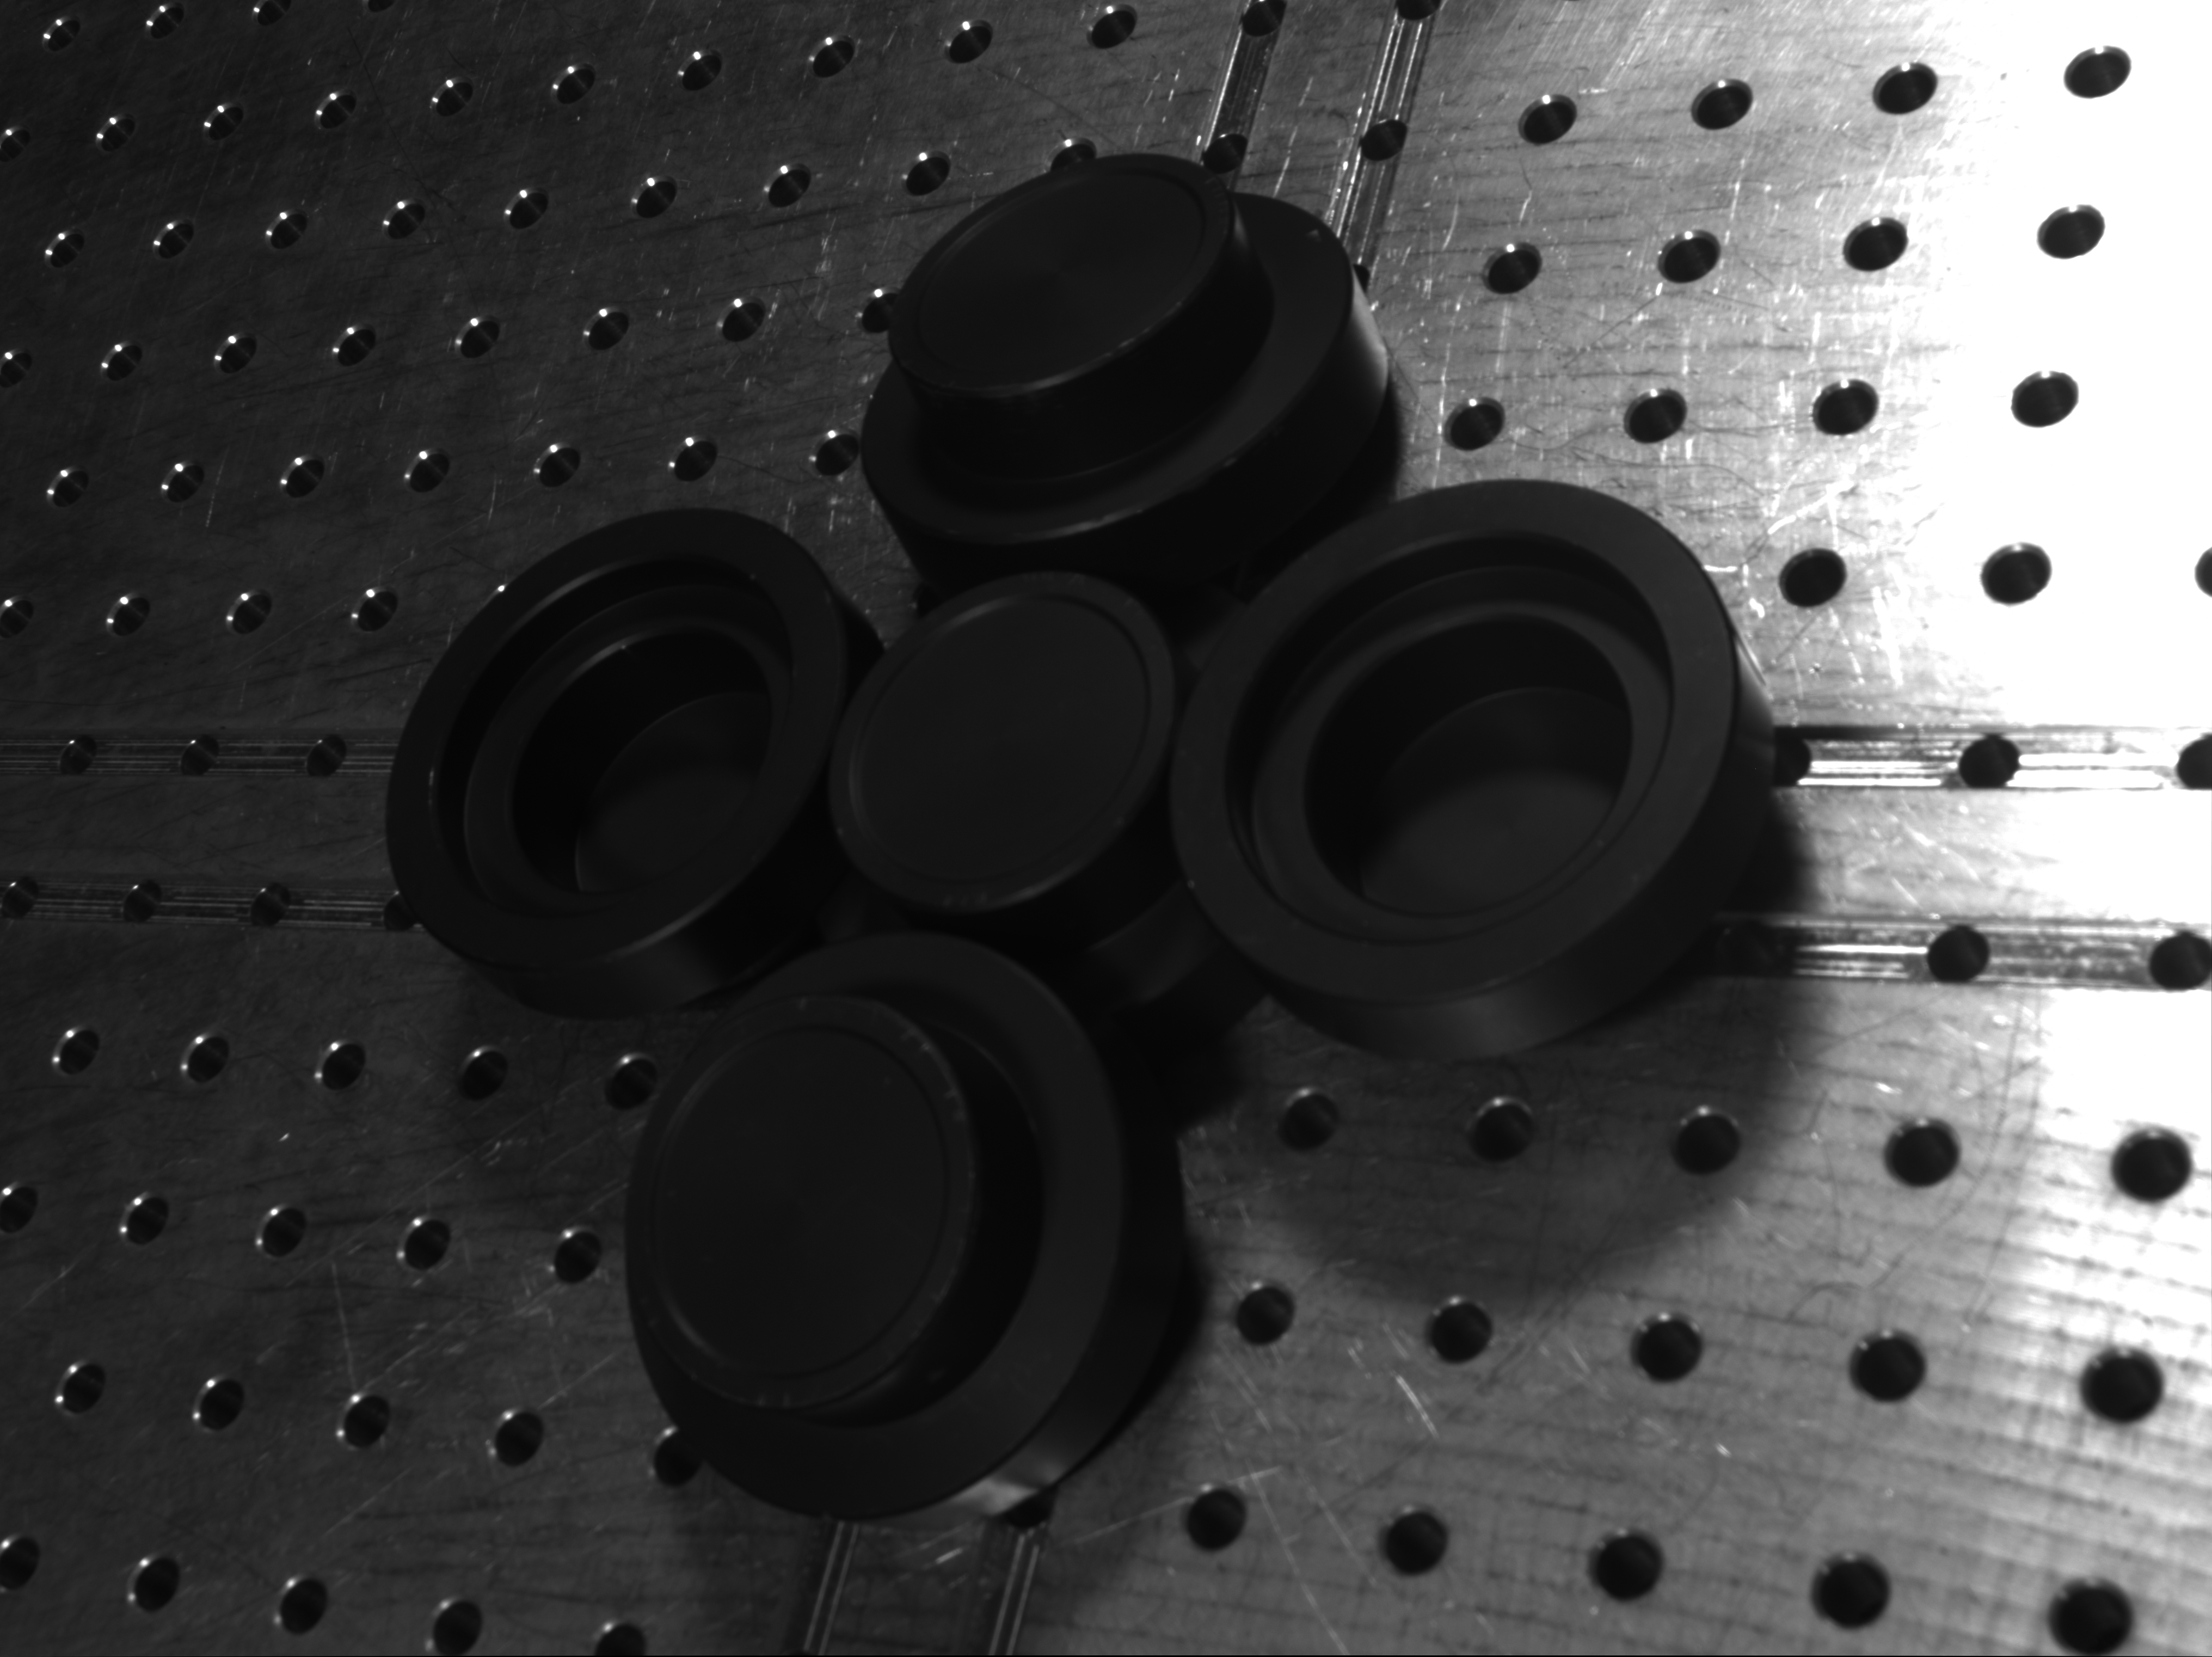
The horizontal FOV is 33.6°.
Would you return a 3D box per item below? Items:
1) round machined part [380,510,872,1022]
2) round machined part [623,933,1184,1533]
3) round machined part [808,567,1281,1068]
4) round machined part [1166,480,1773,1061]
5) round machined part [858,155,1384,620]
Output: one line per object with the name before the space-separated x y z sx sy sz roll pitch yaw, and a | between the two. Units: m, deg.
round machined part | -0.083 -0.007 0.685 0.098 0.042 0.098 -13 56 21
round machined part | -0.040 0.065 0.603 0.098 0.042 0.098 -8 72 27
round machined part | -0.011 -0.006 0.645 0.098 0.042 0.098 -13 56 21
round machined part | 0.063 -0.005 0.605 0.098 0.042 0.098 -13 56 21
round machined part | -0.002 -0.087 0.676 0.098 0.042 0.098 -16 41 15
